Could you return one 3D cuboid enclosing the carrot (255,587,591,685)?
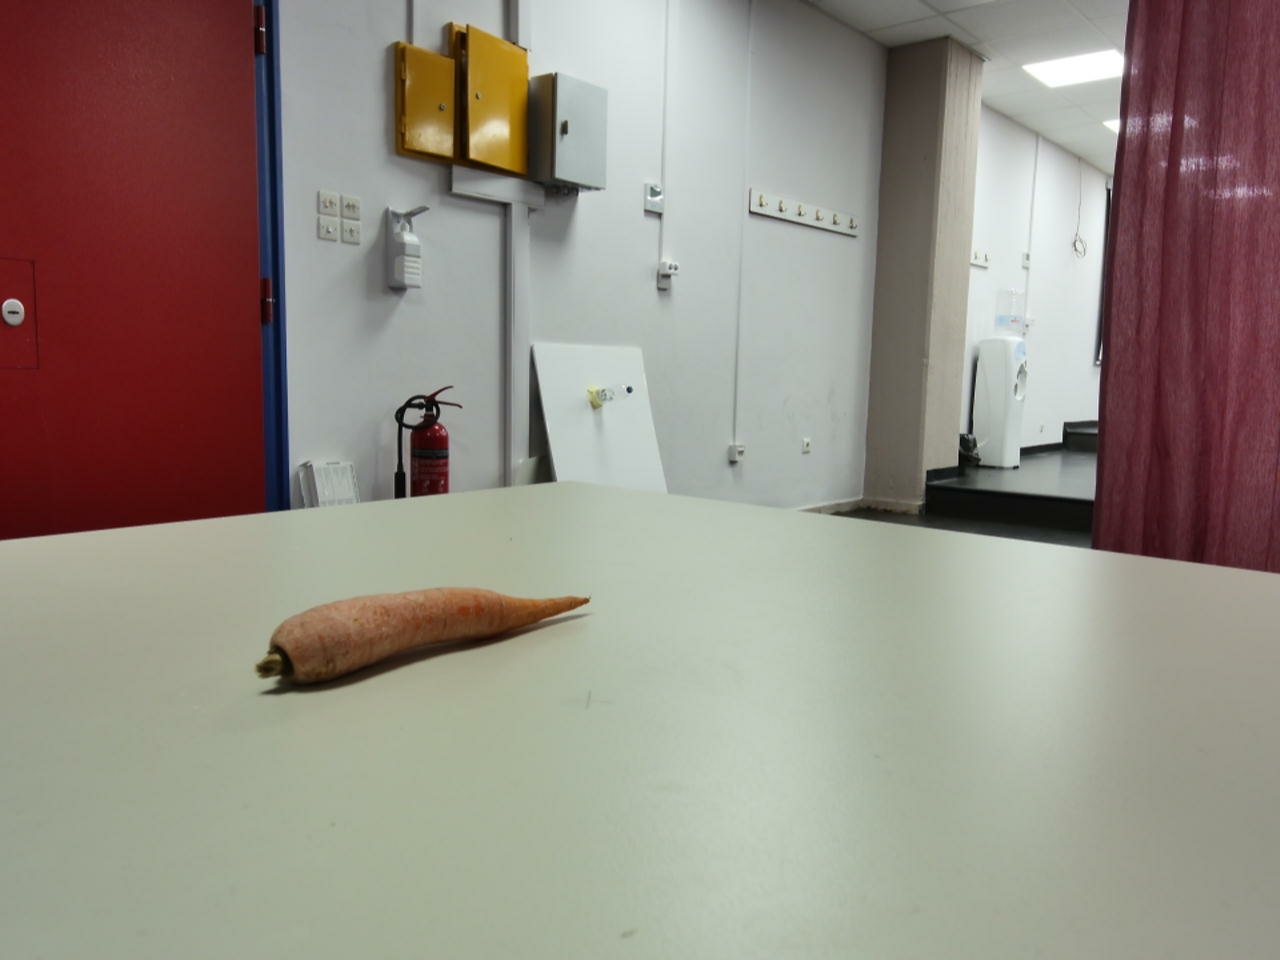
[{"bbox_3d":[-0.084,0.058,0.420,0.031,0.029,0.163,3,6,40],"label":"carrot"}]
